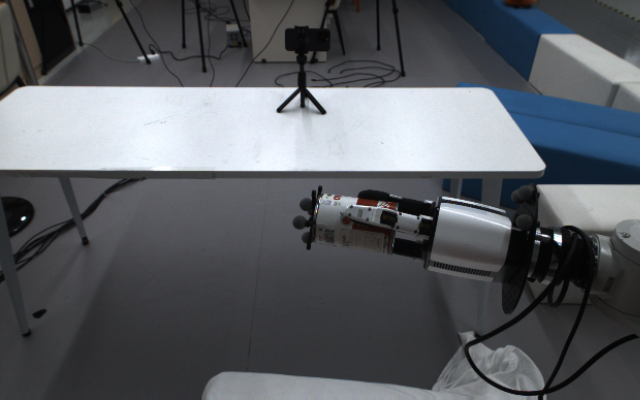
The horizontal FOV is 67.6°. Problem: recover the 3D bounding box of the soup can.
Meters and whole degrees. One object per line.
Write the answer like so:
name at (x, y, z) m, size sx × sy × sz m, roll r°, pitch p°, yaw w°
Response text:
soup can at (0.050, 0.030, 0.626) m, size 0.101 × 0.067 × 0.067 m, roll 7°, pitch 35°, yaw 10°
